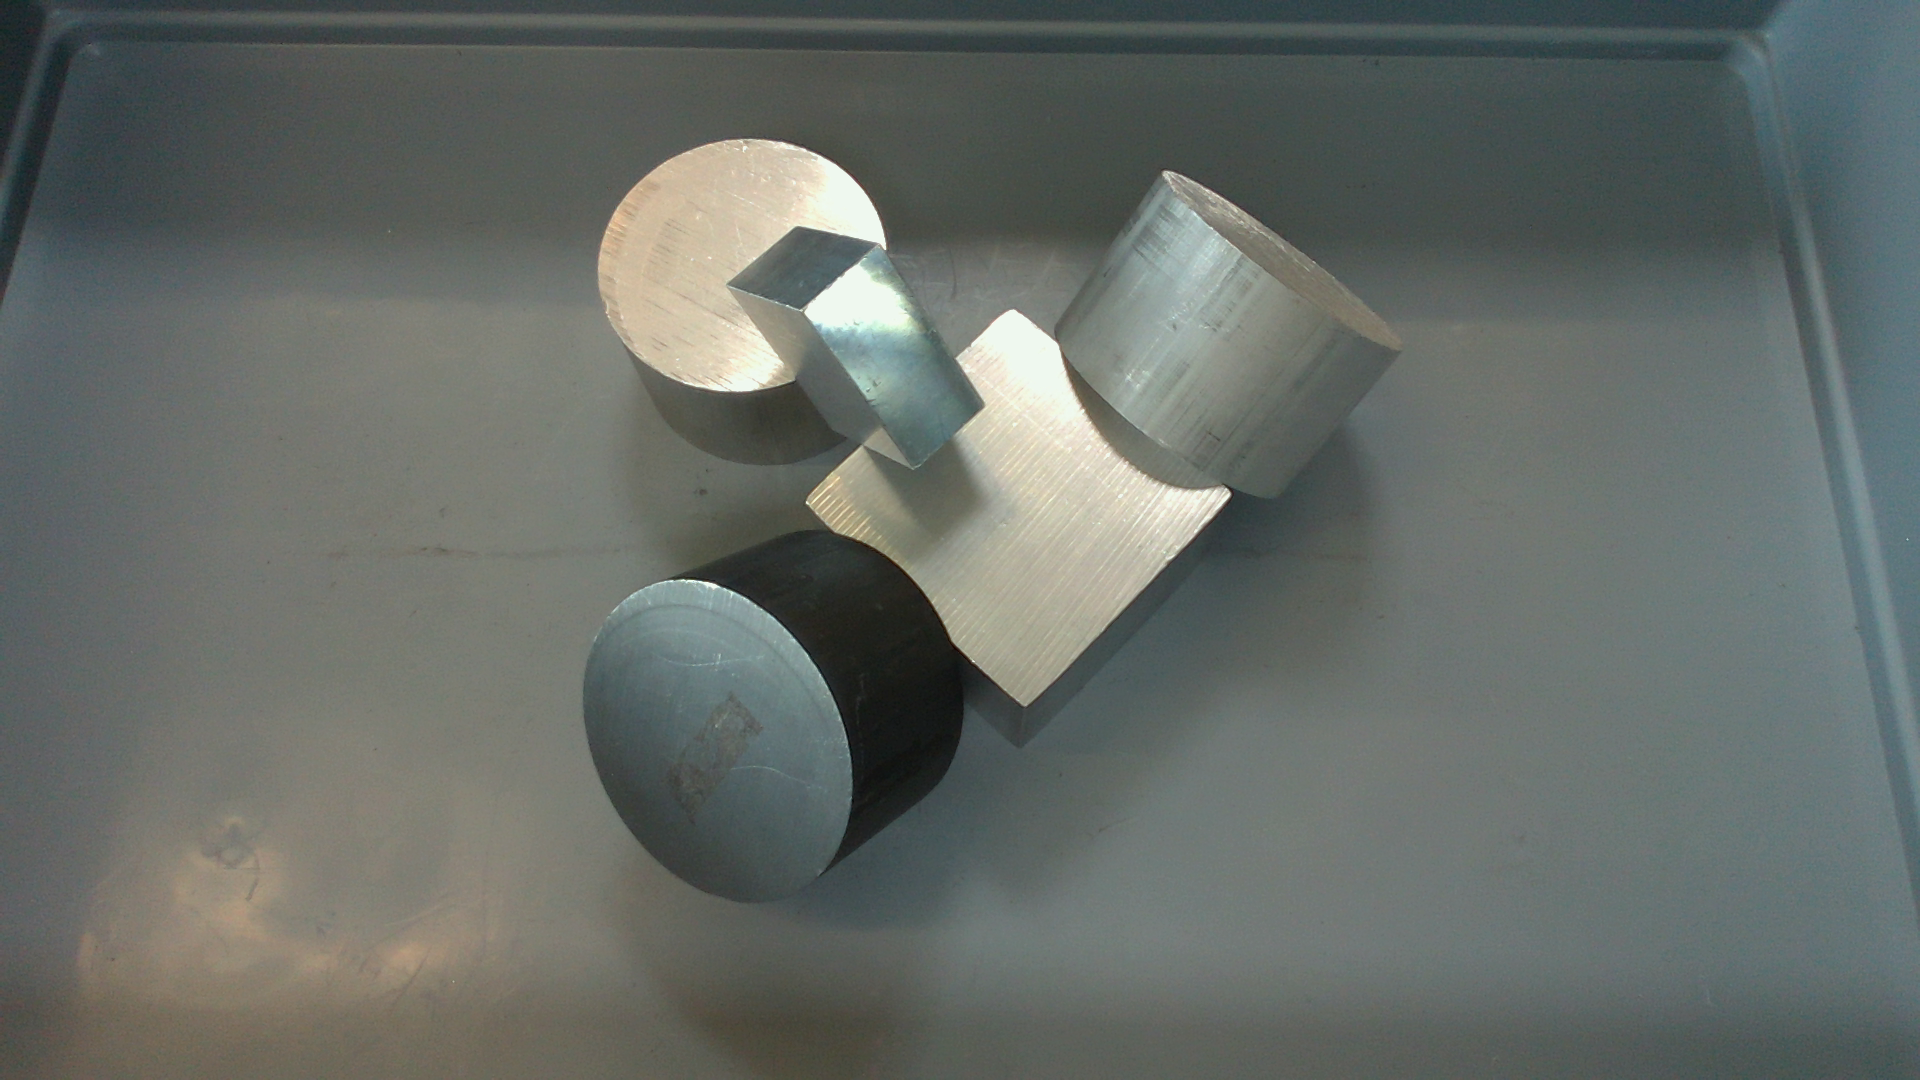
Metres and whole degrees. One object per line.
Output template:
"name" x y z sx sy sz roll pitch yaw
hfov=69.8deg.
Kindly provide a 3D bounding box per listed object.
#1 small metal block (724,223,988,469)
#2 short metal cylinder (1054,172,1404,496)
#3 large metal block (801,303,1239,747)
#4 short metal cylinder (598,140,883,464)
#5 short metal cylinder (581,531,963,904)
"small metal block" -0.027 -0.050 0.345 0.025 0.050 0.050 -43 32 -12
"short metal cylinder" 0.073 -0.057 0.378 0.080 0.080 0.050 41 114 14
"large metal block" 0.016 -0.003 0.379 0.080 0.050 0.080 43 75 14
"short metal cylinder" -0.060 -0.069 0.405 0.080 0.050 0.080 0 70 0
"short metal cylinder" -0.046 0.042 0.342 0.080 0.050 0.080 9 108 28
